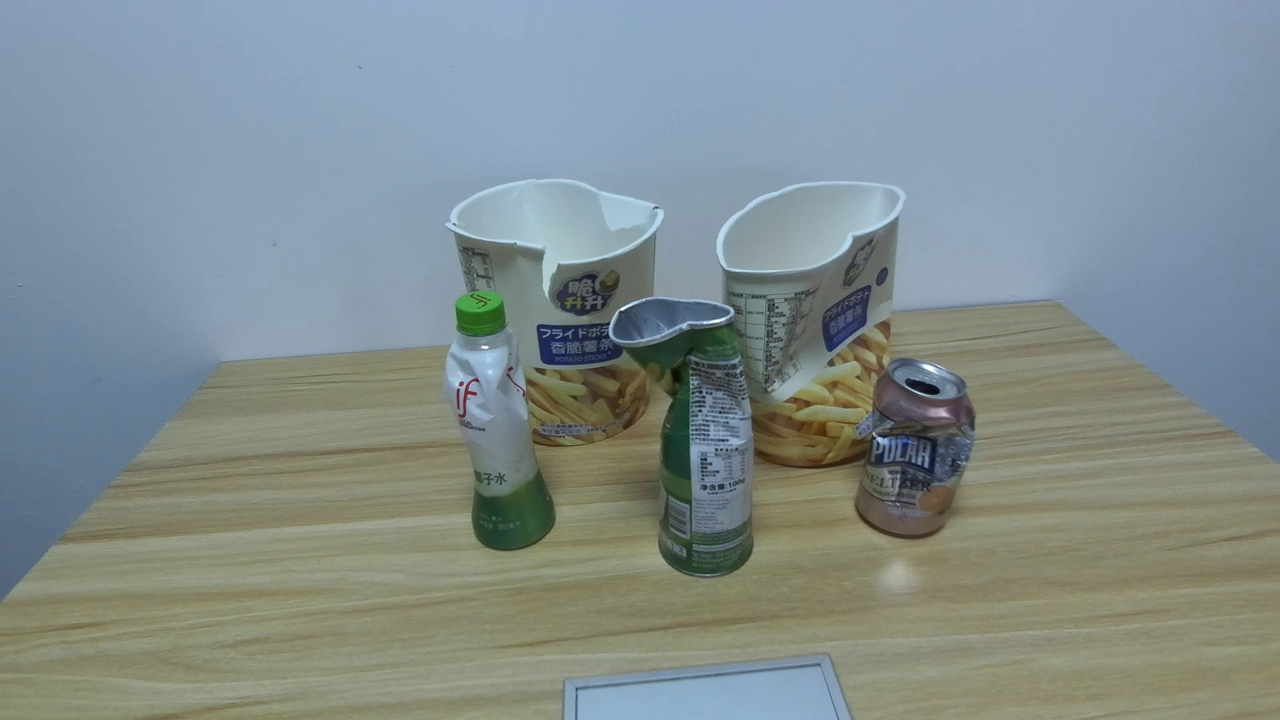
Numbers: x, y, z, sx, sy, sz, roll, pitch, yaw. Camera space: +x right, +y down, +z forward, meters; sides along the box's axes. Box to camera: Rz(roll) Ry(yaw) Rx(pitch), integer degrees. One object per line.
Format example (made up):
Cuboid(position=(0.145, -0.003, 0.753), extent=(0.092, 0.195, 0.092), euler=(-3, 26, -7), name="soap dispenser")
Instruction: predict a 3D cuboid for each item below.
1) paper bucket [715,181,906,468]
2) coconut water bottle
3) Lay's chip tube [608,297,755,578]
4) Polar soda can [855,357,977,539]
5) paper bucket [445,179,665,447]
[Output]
Cuboid(position=(0.143, -0.031, 0.591), extent=(0.147, 0.199, 0.218), euler=(3, 30, 10), name="paper bucket")
Cuboid(position=(-0.100, 0.045, 0.501), extent=(0.067, 0.187, 0.067), euler=(-2, 28, 2), name="coconut water bottle")
Cuboid(position=(0.033, 0.052, 0.465), extent=(0.071, 0.200, 0.079), euler=(-17, 30, -7), name="Lay's chip tube")
Cuboid(position=(0.199, 0.064, 0.509), extent=(0.071, 0.122, 0.067), euler=(10, 27, 19), name="Polar soda can")
Cuboid(position=(-0.067, -0.043, 0.634), extent=(0.201, 0.197, 0.146), euler=(21, 39, 36), name="paper bucket")
